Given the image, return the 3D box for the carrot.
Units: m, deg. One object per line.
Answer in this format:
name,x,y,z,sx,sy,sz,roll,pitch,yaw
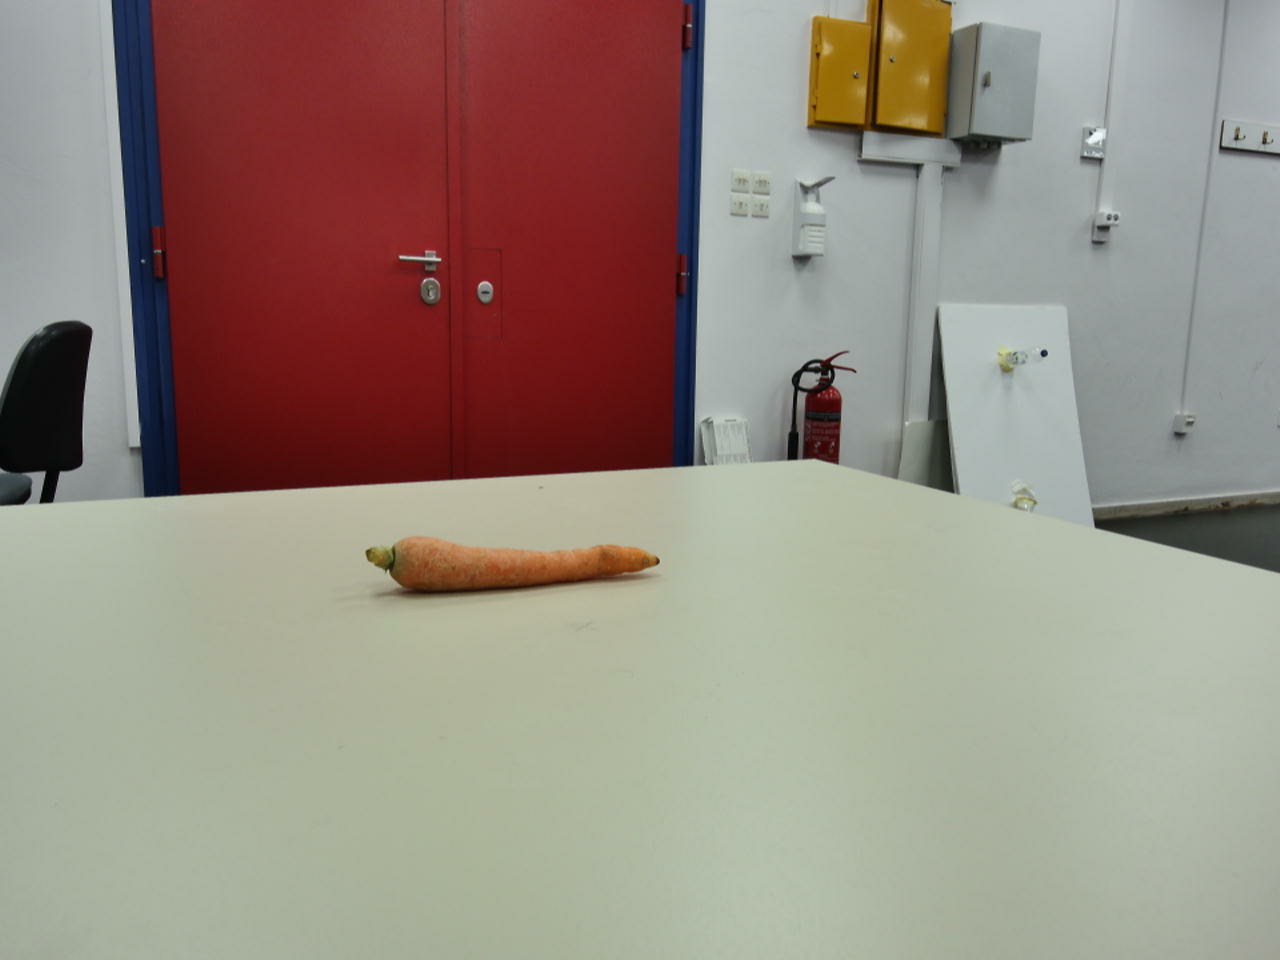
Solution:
carrot,-0.068,0.046,0.579,0.173,0.032,0.030,-2,8,-15
